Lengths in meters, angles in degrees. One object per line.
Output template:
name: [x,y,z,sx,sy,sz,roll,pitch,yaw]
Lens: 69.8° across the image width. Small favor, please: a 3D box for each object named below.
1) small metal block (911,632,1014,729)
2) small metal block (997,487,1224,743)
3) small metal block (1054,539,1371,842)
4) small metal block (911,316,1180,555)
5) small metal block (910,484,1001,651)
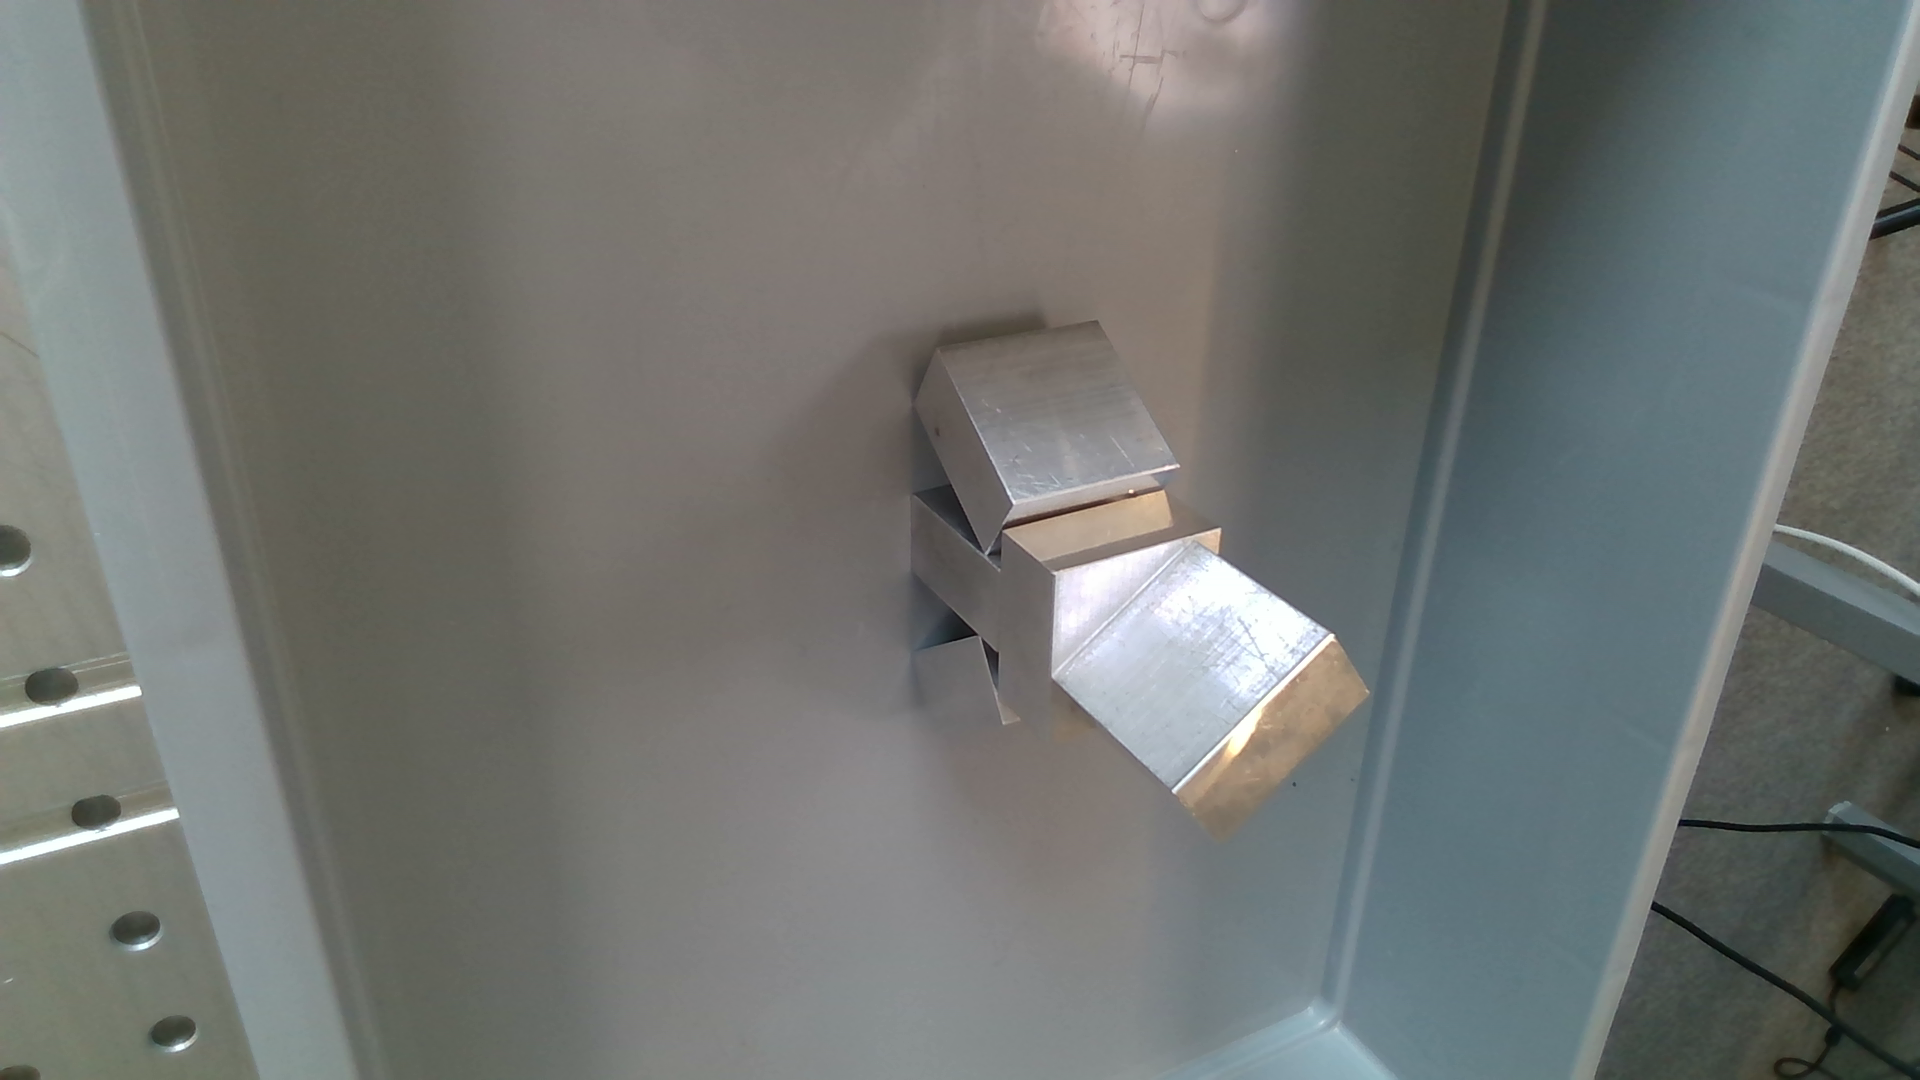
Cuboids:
small metal block: [0.020,0.035,0.401,0.050,0.050,0.025,-14,87,-25]
small metal block: [0.038,0.019,0.356,0.050,0.025,0.050,-14,121,-25]
small metal block: [0.059,0.035,0.330,0.050,0.050,0.025,-44,129,-4]
small metal block: [0.022,-0.029,0.366,0.050,0.050,0.025,-14,155,-25]
small metal block: [0.020,0.002,0.385,0.050,0.050,0.025,-14,121,-26]
